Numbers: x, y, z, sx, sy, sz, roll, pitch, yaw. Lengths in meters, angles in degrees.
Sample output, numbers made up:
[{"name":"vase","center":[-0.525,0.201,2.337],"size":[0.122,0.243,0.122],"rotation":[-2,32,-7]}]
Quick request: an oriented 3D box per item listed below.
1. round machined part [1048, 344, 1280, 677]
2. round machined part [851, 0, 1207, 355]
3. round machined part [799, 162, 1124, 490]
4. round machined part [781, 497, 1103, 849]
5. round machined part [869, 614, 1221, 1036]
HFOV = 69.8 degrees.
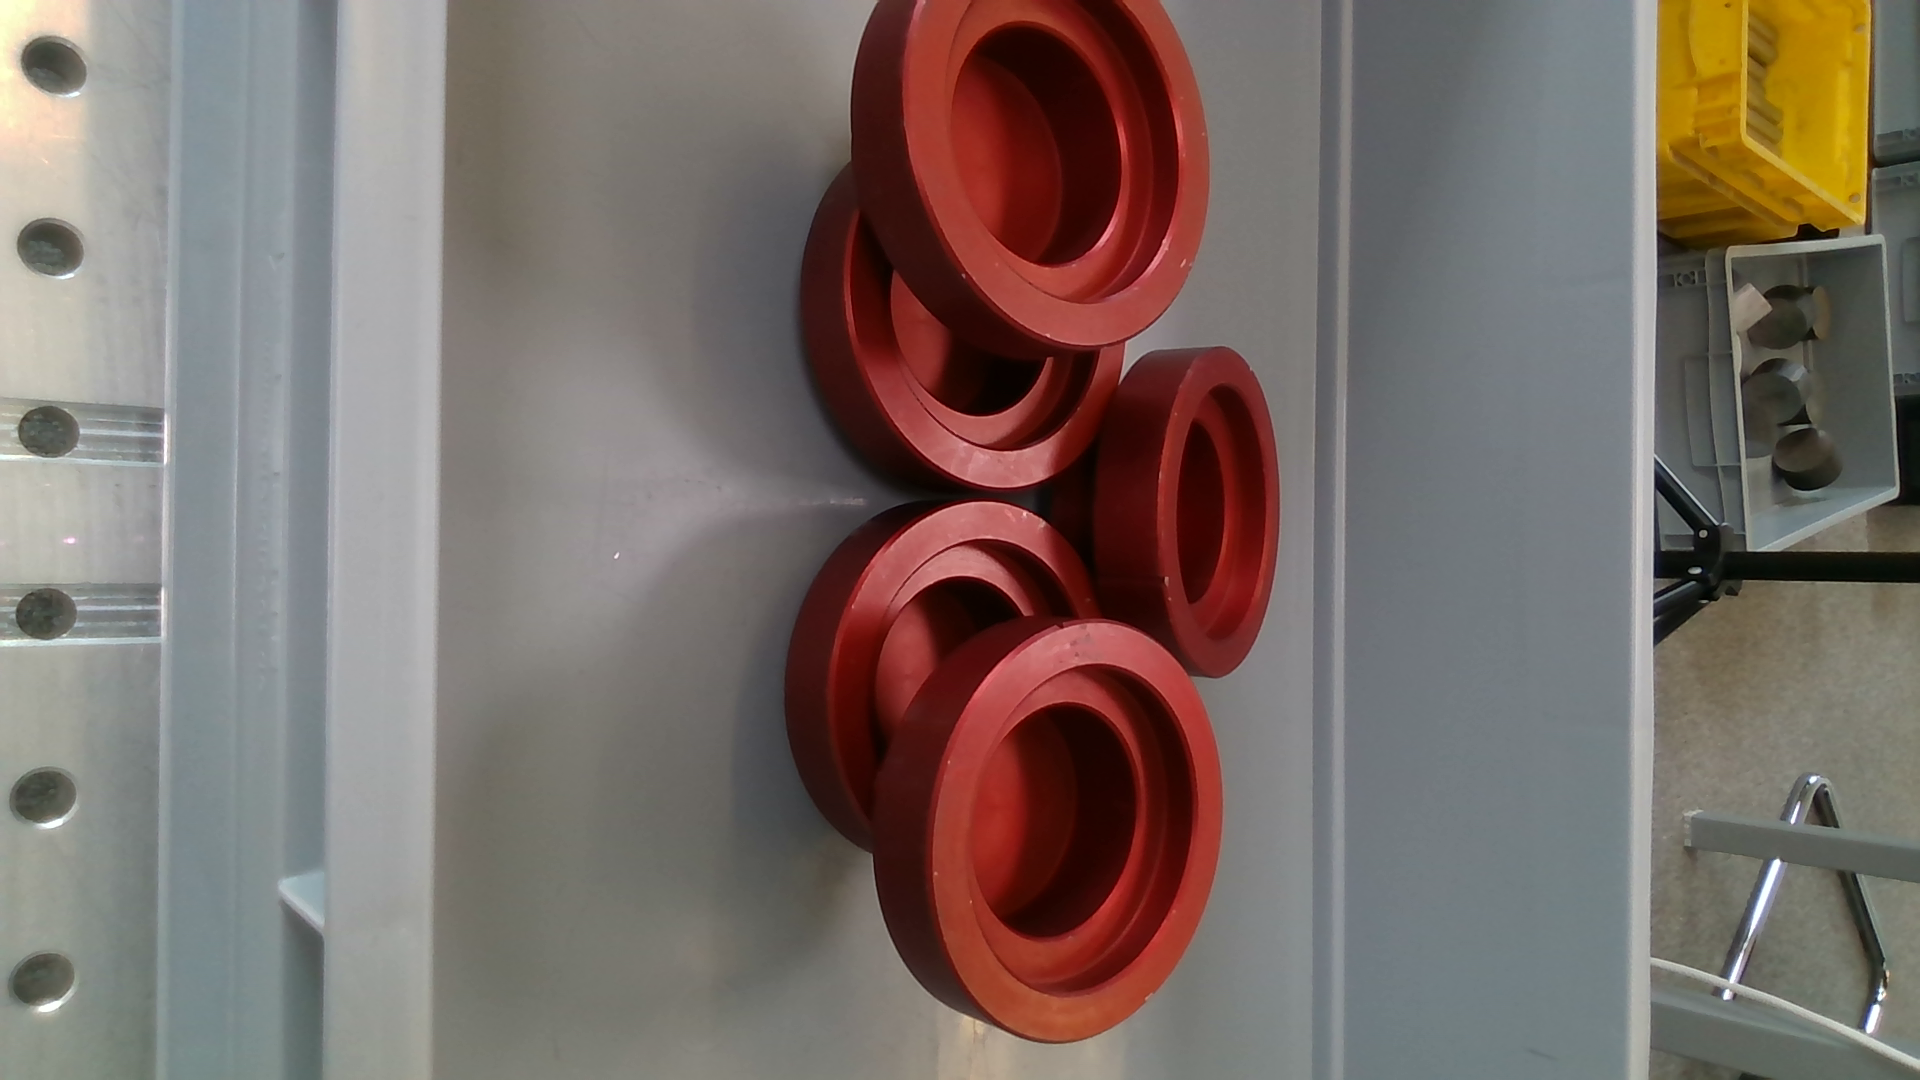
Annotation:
[{"name":"round machined part","center":[0.061,-0.009,0.417],"size":[0.098,0.042,0.098],"rotation":[-4,94,-58]},{"name":"round machined part","center":[0.013,-0.094,0.335],"size":[0.098,0.042,0.098],"rotation":[0,90,-40]},{"name":"round machined part","center":[-0.003,-0.062,0.376],"size":[0.098,0.042,0.098],"rotation":[0,90,-40]},{"name":"round machined part","center":[-0.007,0.038,0.373],"size":[0.098,0.042,0.098],"rotation":[0,90,-40]},{"name":"round machined part","center":[0.017,0.067,0.339],"size":[0.098,0.042,0.098],"rotation":[0,90,-40]}]
